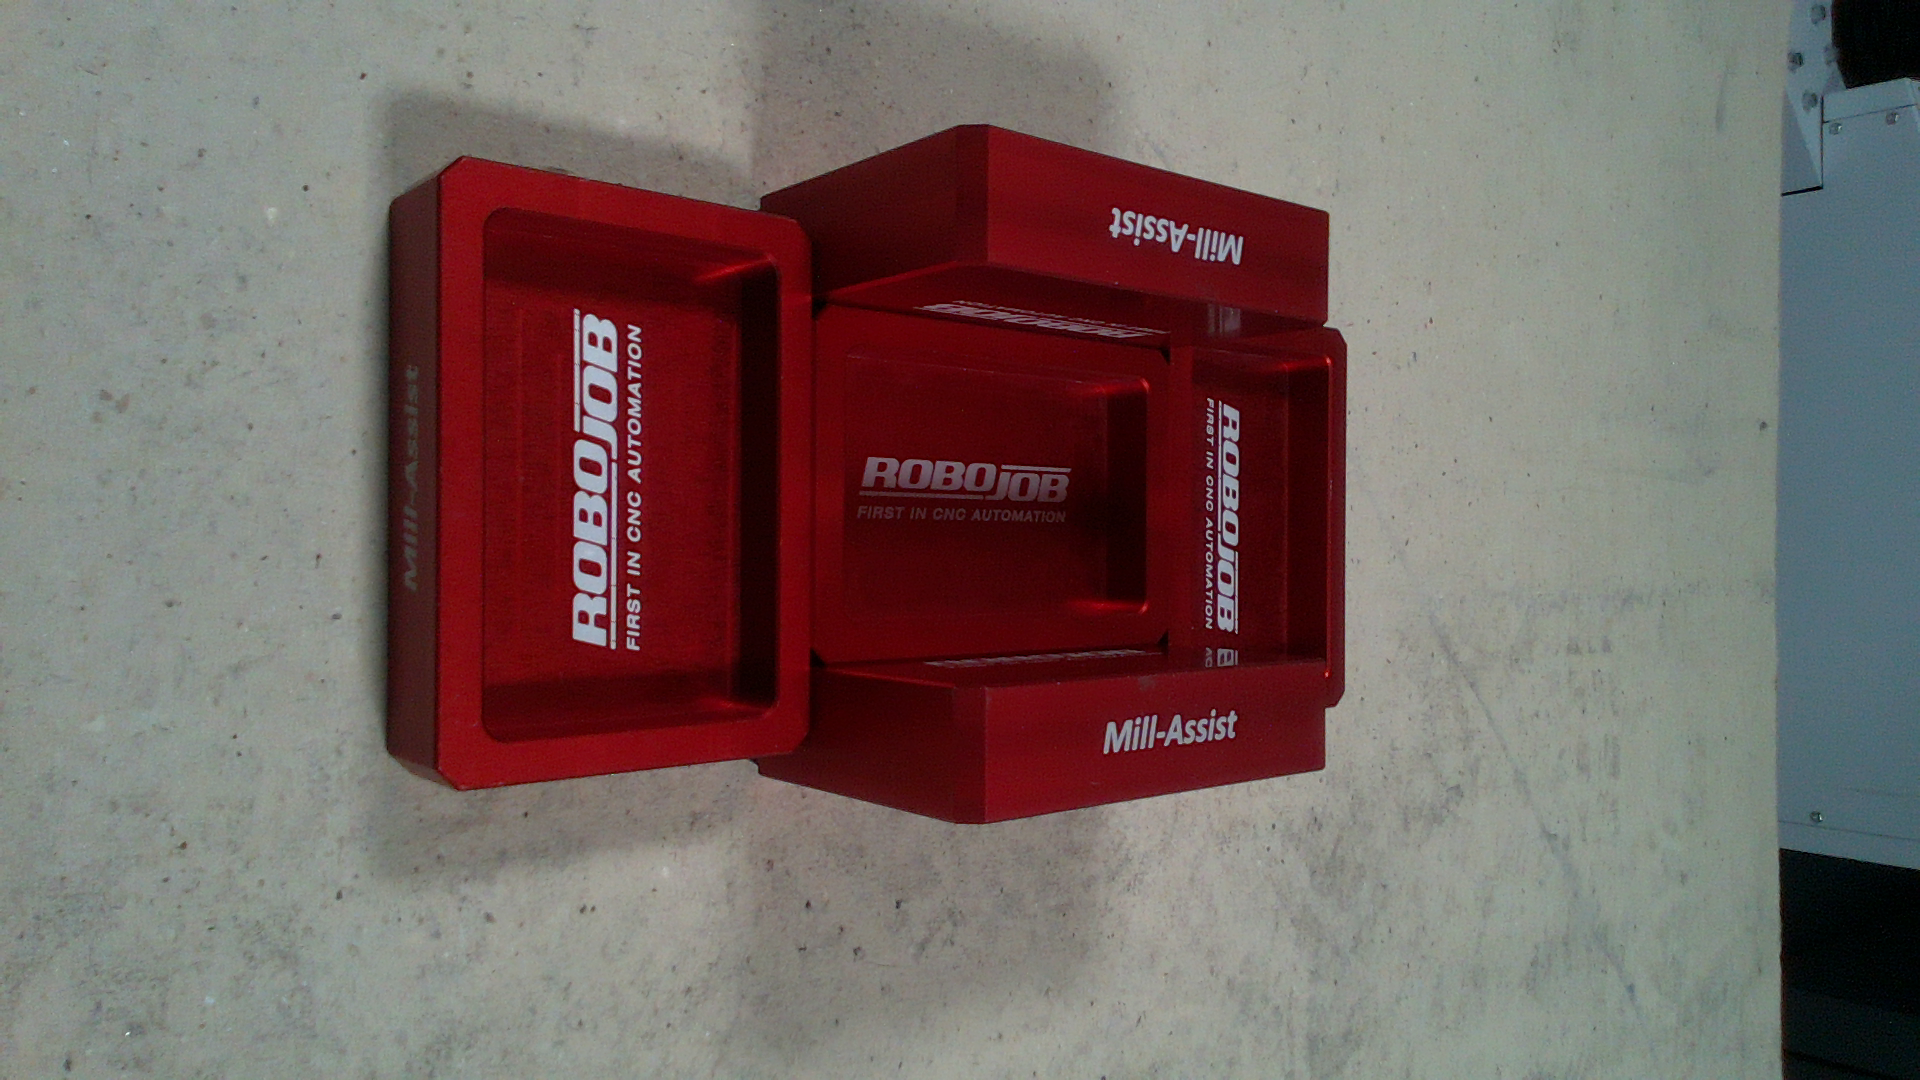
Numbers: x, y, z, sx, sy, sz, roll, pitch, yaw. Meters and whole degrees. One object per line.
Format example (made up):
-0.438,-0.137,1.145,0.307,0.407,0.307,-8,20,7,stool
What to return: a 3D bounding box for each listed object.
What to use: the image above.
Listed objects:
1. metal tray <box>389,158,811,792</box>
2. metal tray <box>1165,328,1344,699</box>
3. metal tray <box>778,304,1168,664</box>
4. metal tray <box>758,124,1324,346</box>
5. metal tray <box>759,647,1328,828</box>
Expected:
-0.081,-0.013,0.319,0.090,0.030,0.130,1,90,-40,metal tray
0.089,-0.008,0.460,0.090,0.030,0.130,1,90,-40,metal tray
0.004,-0.014,0.389,0.131,0.030,0.090,1,89,-40,metal tray
0.023,-0.074,0.366,0.131,0.090,0.030,0,90,-40,metal tray
0.024,0.047,0.365,0.131,0.090,0.030,0,90,-40,metal tray
